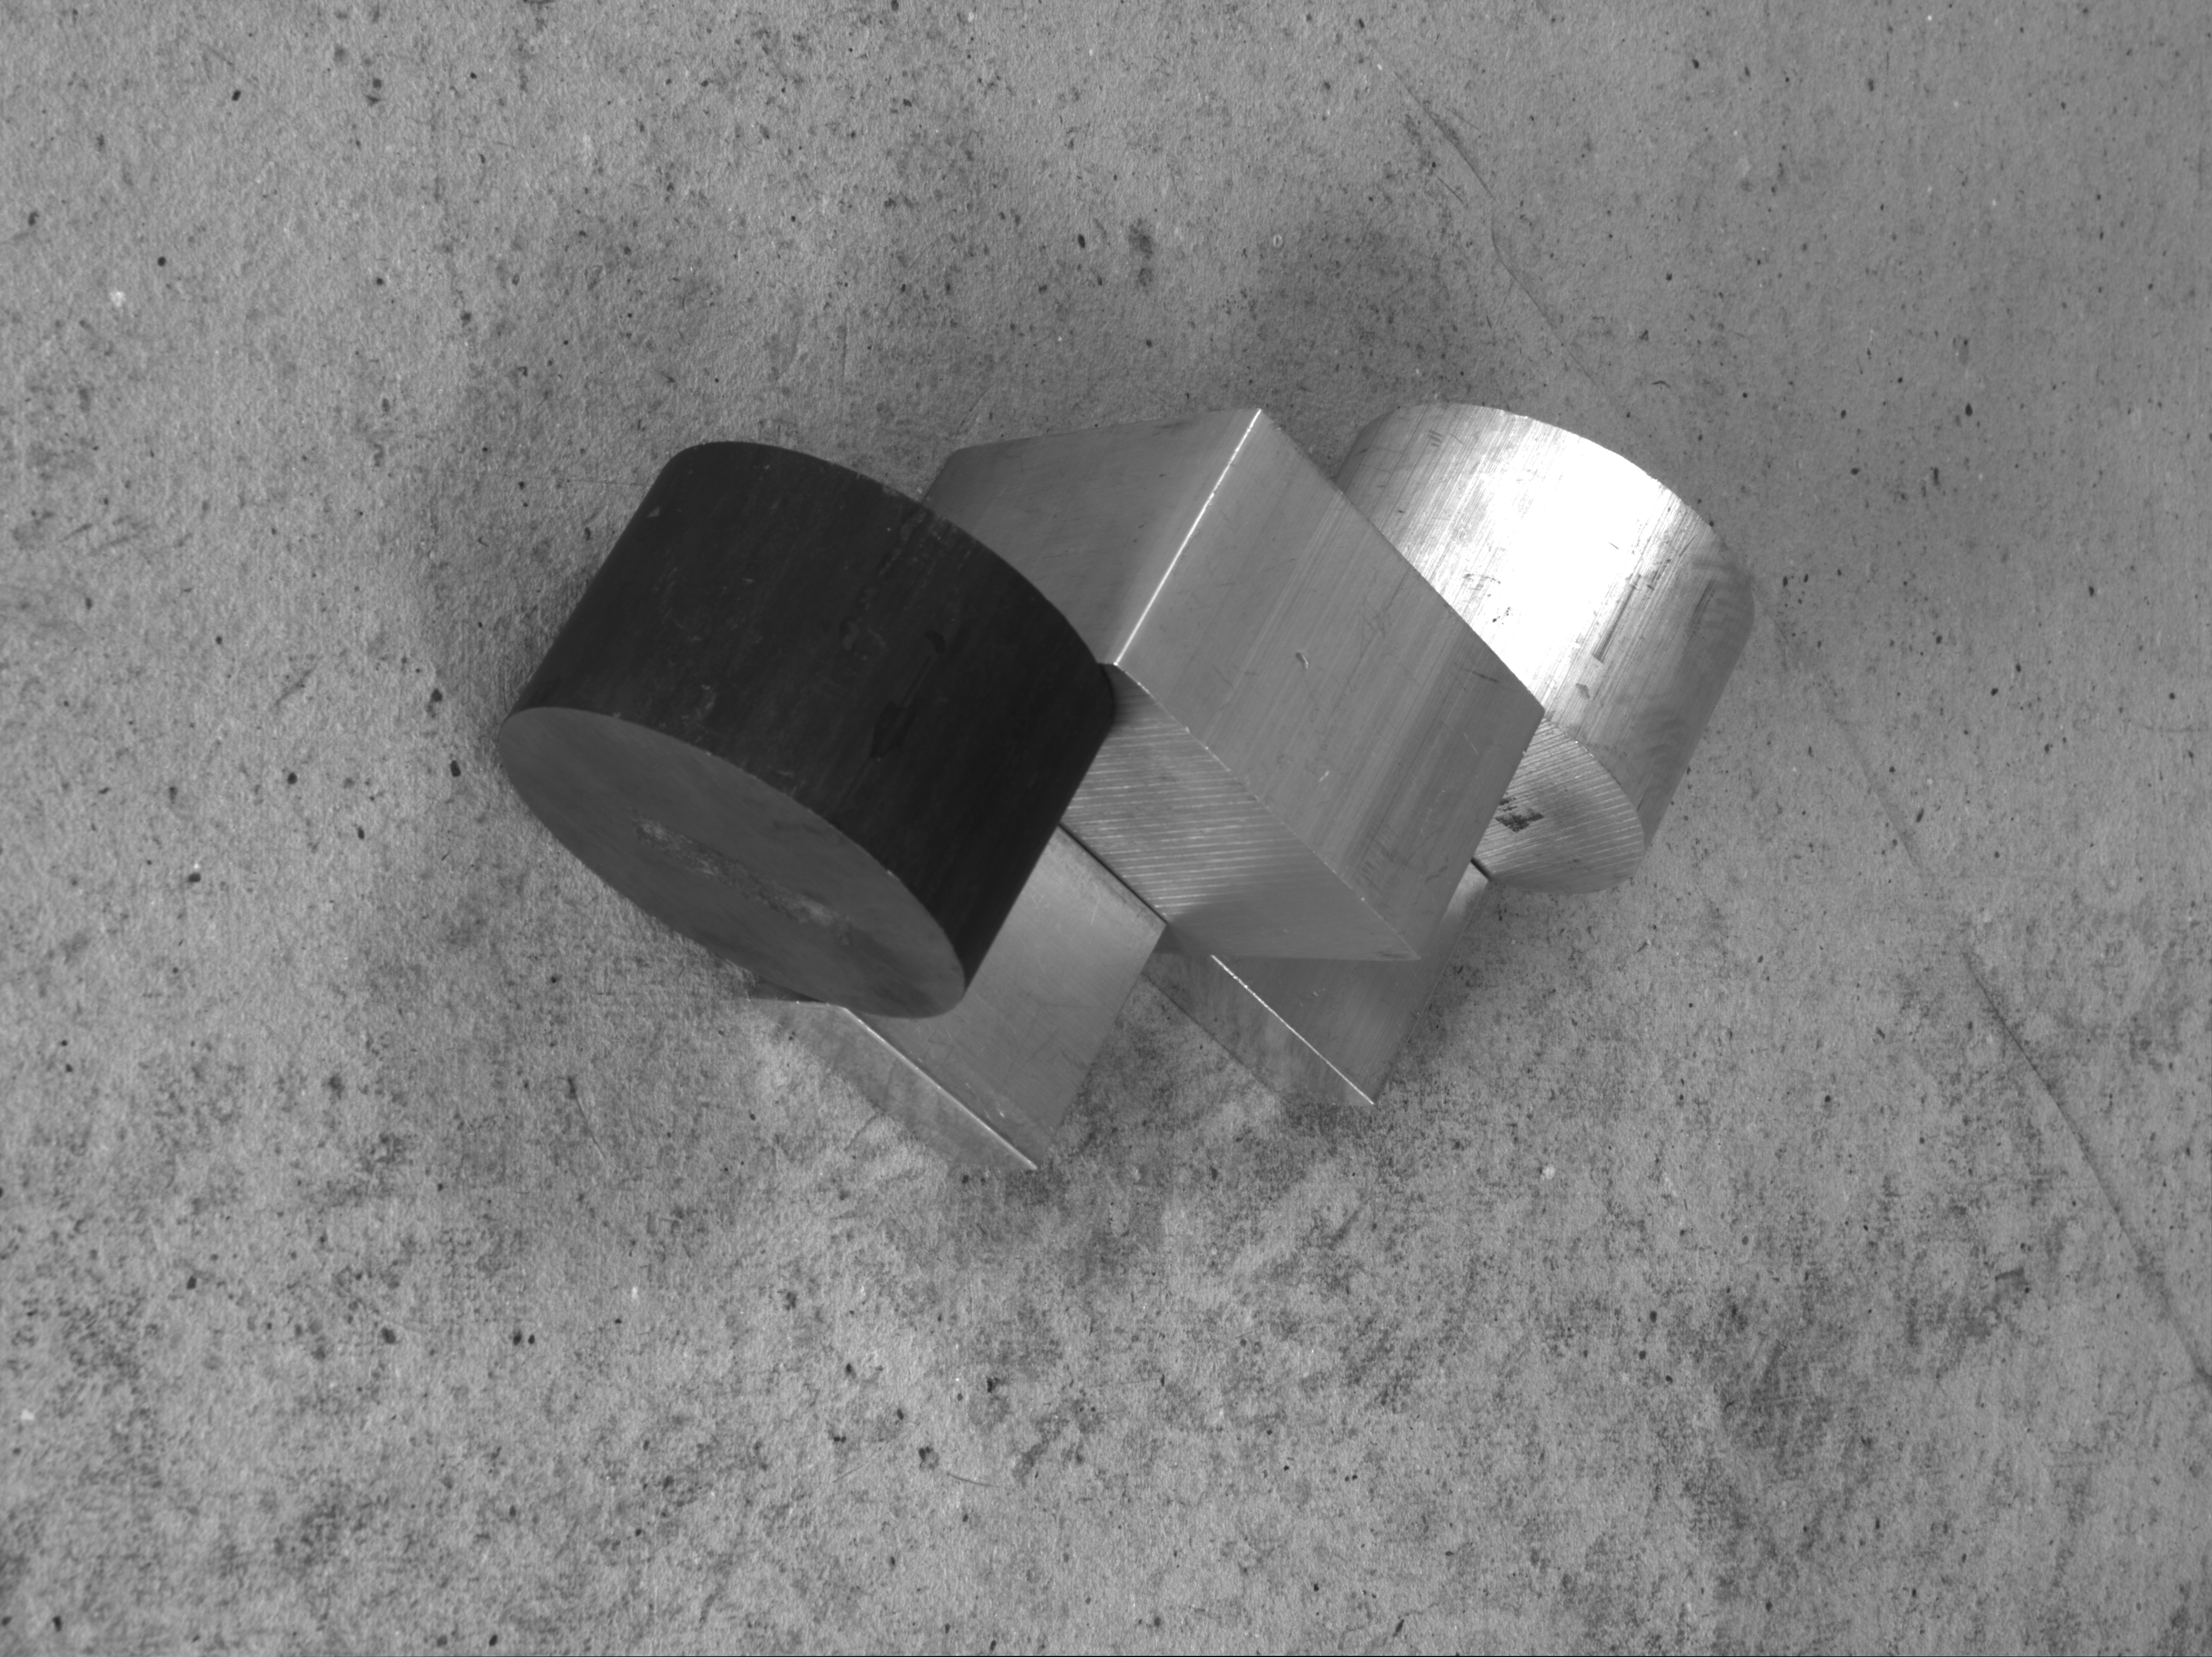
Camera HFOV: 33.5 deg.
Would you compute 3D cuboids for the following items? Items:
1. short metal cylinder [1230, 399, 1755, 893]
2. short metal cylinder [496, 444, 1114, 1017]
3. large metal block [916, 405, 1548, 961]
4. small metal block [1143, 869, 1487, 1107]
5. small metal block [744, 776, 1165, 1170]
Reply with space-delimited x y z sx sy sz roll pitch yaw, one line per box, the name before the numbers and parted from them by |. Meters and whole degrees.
short metal cylinder | 0.069 -0.032 0.659 0.080 0.080 0.050 43 64 -31
short metal cylinder | -0.046 -0.014 0.563 0.080 0.080 0.050 42 64 -31
large metal block | 0.012 -0.022 0.612 0.080 0.080 0.050 42 64 -32
small metal block | 0.036 0.015 0.667 0.050 0.025 0.050 43 64 -31
small metal block | -0.025 0.022 0.617 0.050 0.025 0.050 43 64 -31
